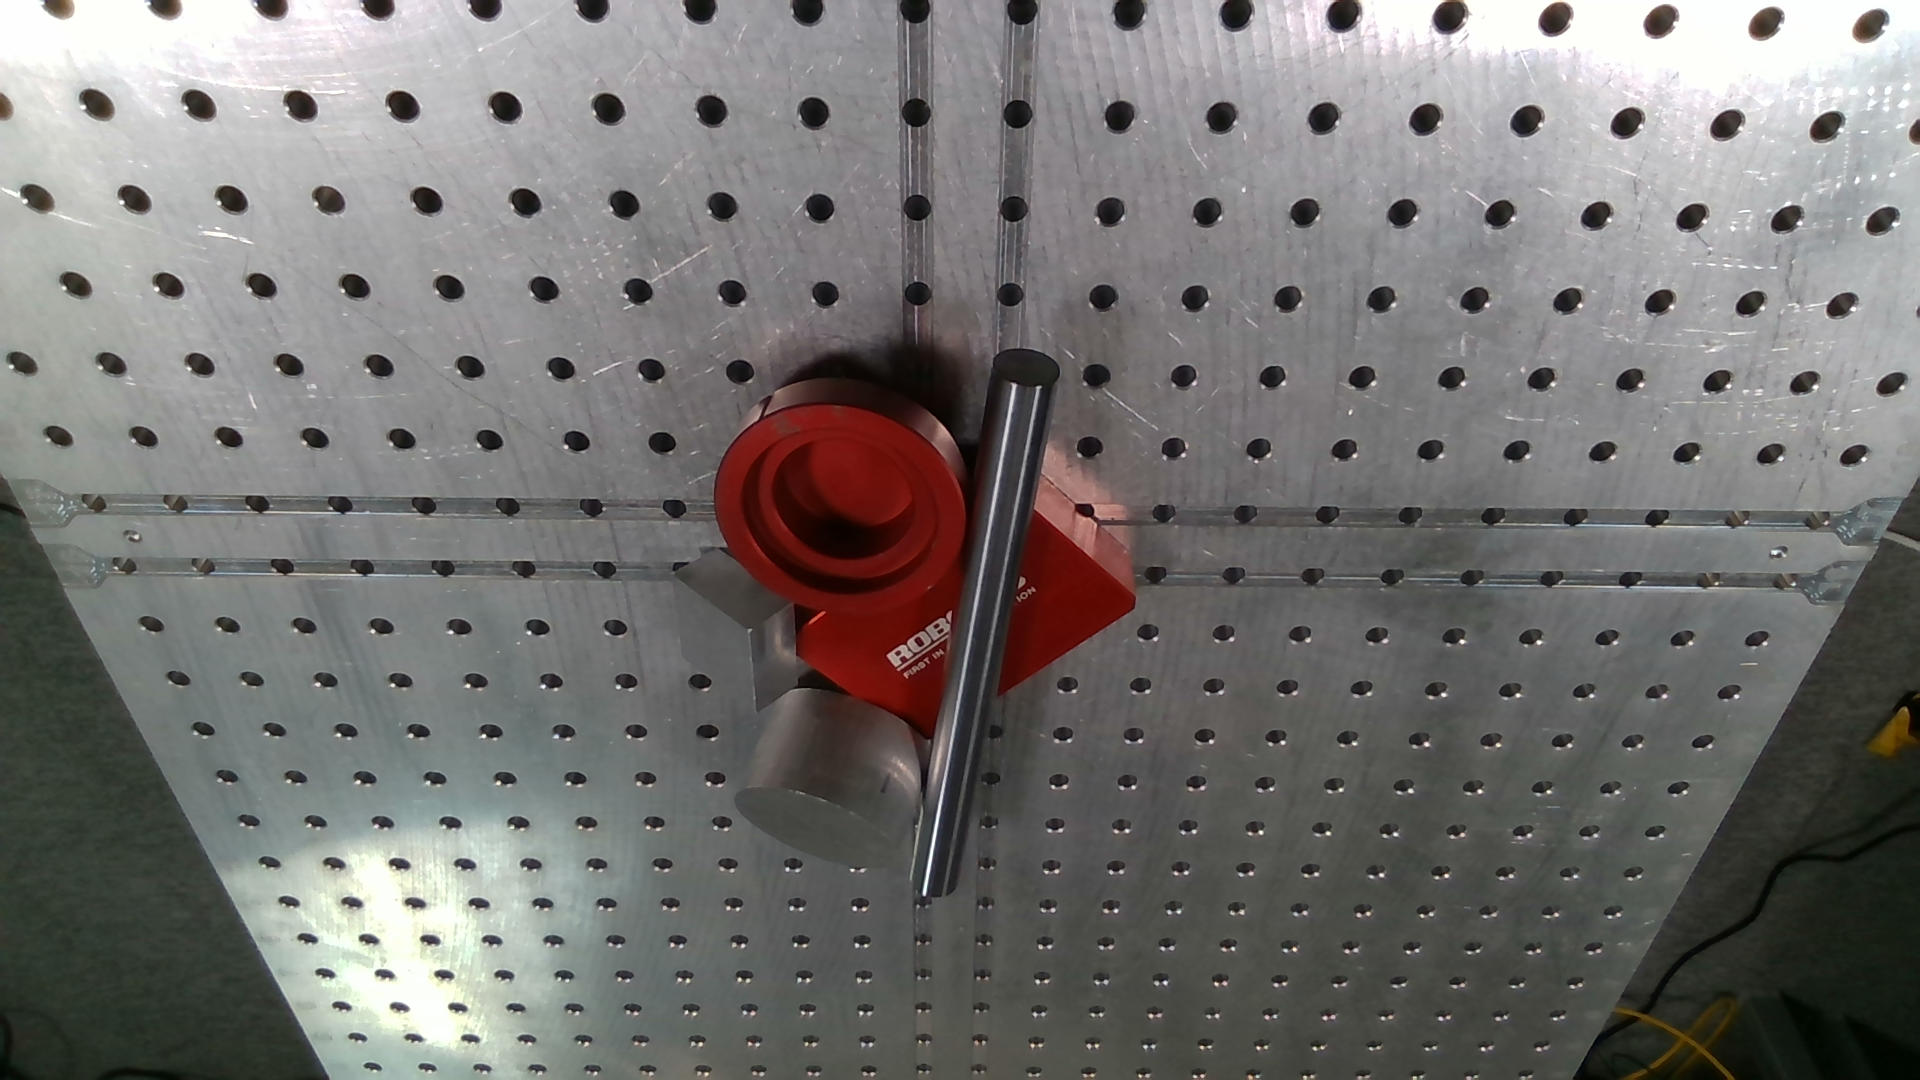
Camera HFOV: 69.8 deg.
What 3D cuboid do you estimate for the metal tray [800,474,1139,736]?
[{"bbox_3d":[0.001,0.026,0.603,0.130,0.030,0.090,-36,121,26],"label":"metal tray"}]

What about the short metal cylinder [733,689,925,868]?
[{"bbox_3d":[-0.058,0.112,0.640,0.080,0.050,0.080,16,149,10],"label":"short metal cylinder"}]

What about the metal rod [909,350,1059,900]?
[{"bbox_3d":[0.005,0.053,0.586,0.025,0.025,0.301,5,130,-4],"label":"metal rod"}]

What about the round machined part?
[{"bbox_3d":[-0.045,-0.022,0.547,0.098,0.042,0.098,3,125,5],"label":"round machined part"}]

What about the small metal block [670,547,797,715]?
[{"bbox_3d":[-0.098,0.039,0.598,0.050,0.025,0.050,33,138,30],"label":"small metal block"}]
